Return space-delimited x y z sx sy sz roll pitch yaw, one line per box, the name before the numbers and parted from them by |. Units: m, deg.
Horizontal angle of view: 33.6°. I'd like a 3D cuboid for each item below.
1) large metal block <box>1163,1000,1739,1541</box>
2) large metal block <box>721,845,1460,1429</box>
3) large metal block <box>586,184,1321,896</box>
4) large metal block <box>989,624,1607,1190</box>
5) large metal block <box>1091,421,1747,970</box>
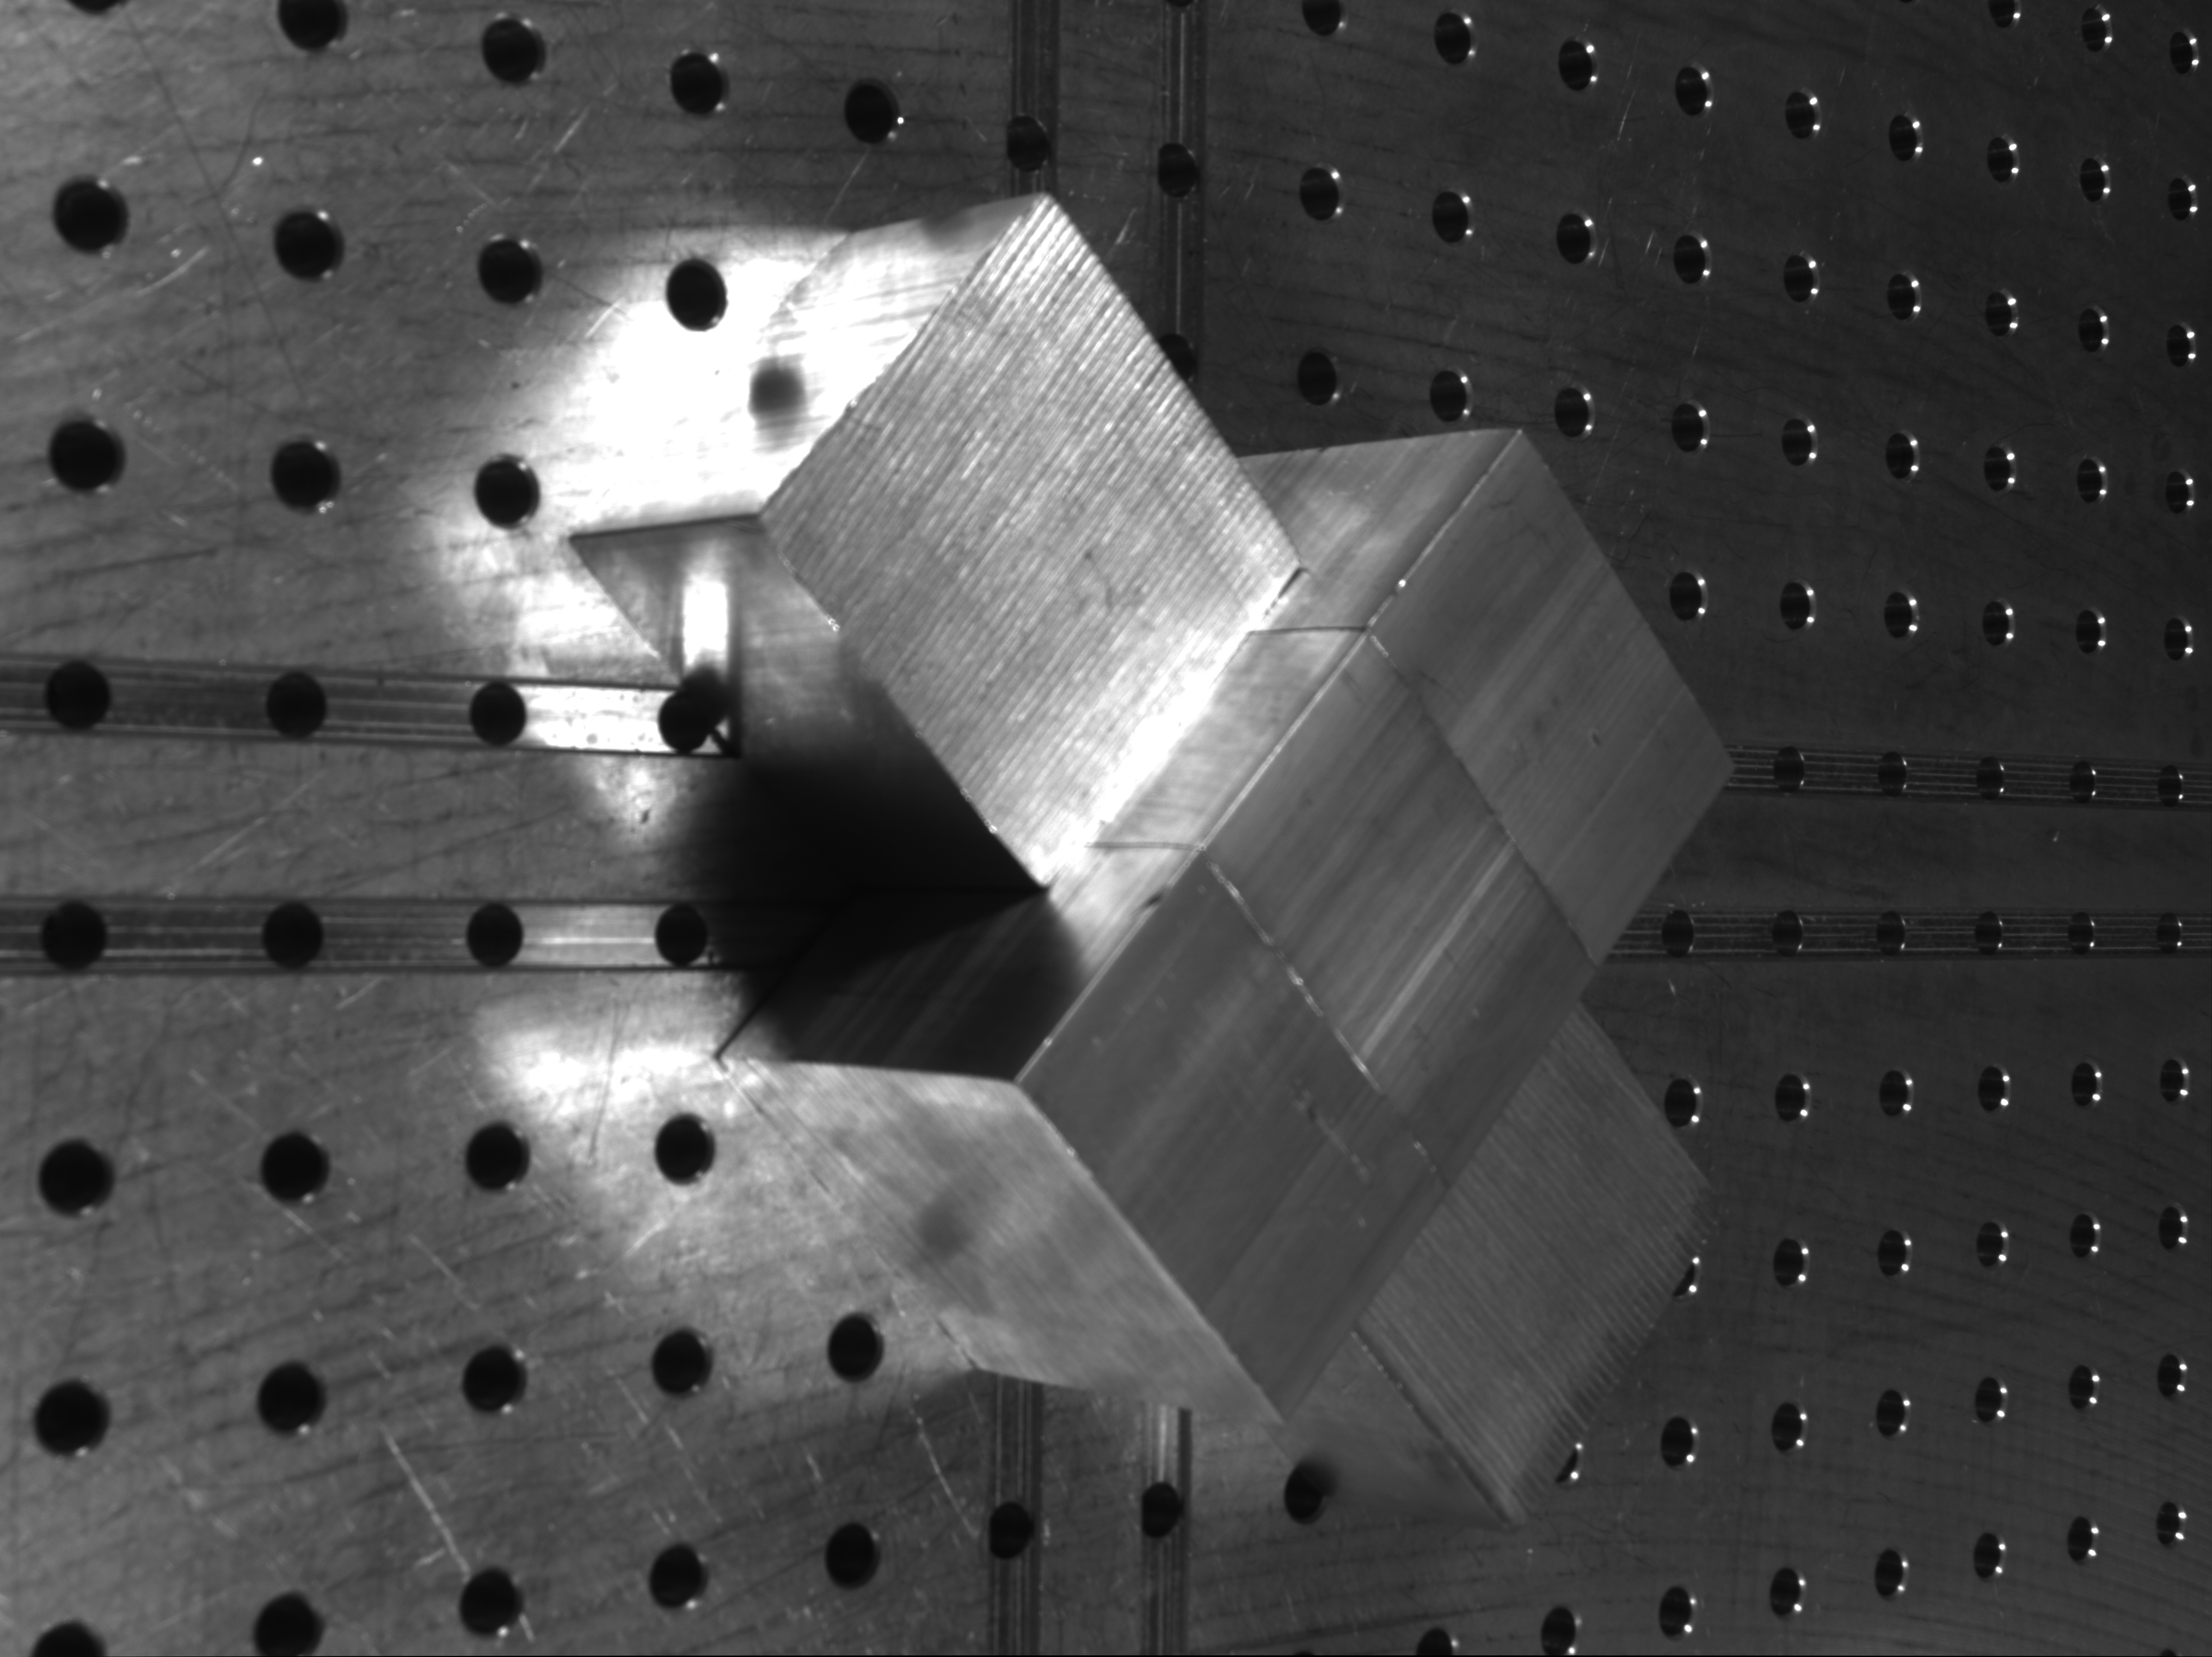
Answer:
large metal block | 0.060 0.071 0.674 0.080 0.050 0.080 -51 120 -27
large metal block | -0.003 0.049 0.603 0.050 0.080 0.080 -52 120 -27
large metal block | -0.023 -0.046 0.601 0.080 0.050 0.080 -52 120 -26
large metal block | 0.025 0.013 0.626 0.050 0.080 0.080 -52 120 -27
large metal block | 0.053 -0.022 0.649 0.050 0.080 0.080 -52 120 -27
